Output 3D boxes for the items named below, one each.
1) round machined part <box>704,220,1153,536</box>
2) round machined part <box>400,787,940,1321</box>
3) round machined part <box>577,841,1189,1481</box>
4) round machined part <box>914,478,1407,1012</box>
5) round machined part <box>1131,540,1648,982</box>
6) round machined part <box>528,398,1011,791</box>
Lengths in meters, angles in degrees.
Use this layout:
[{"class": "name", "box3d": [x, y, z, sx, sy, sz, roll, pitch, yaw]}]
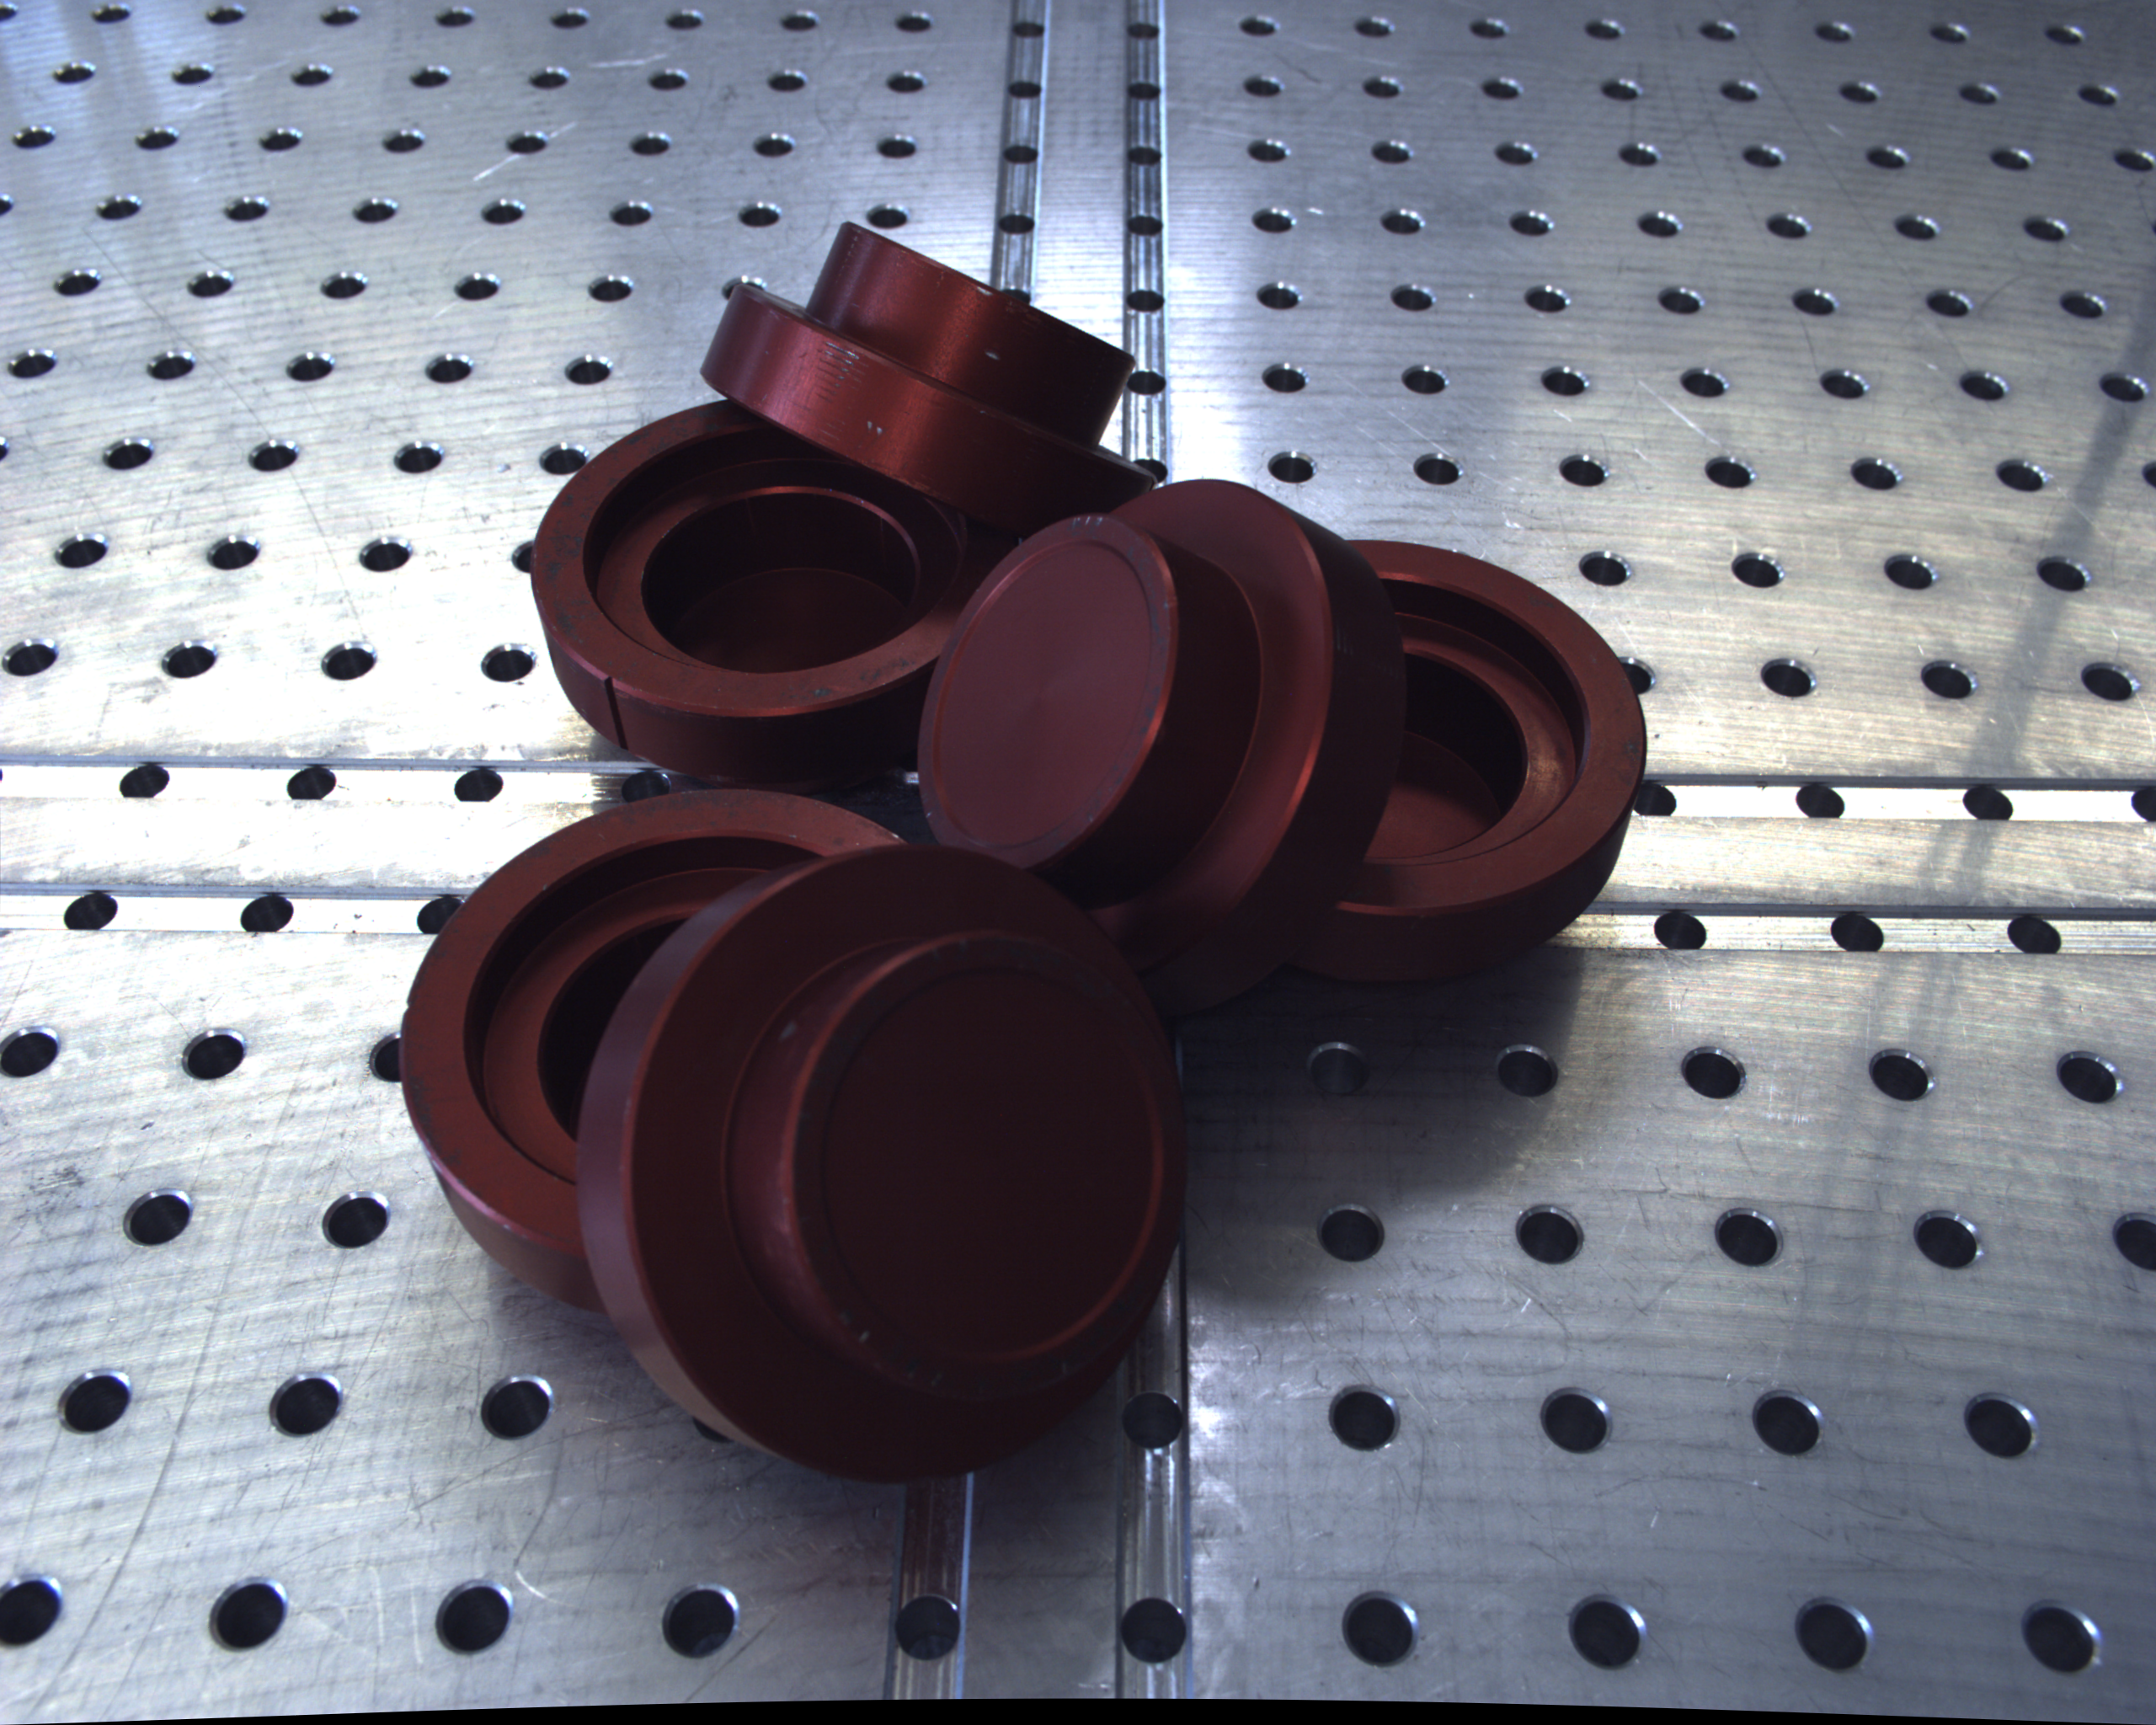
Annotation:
[{"class": "round machined part", "box3d": [-0.027, -0.103, 0.448, 0.098, 0.042, 0.098, 25, 11, -5]}, {"class": "round machined part", "box3d": [-0.063, 0.036, 0.365, 0.099, 0.042, 0.098, 0, 50, 0]}, {"class": "round machined part", "box3d": [-0.022, 0.045, 0.322, 0.099, 0.042, 0.098, 5, 82, -33]}, {"class": "round machined part", "box3d": [0.008, -0.025, 0.378, 0.042, 0.098, 0.098, 22, 37, -39]}, {"class": "round machined part", "box3d": [0.058, -0.016, 0.410, 0.099, 0.042, 0.098, 0, 50, 0]}, {"class": "round machined part", "box3d": [-0.062, -0.053, 0.440, 0.099, 0.042, 0.098, 0, 50, 0]}]
